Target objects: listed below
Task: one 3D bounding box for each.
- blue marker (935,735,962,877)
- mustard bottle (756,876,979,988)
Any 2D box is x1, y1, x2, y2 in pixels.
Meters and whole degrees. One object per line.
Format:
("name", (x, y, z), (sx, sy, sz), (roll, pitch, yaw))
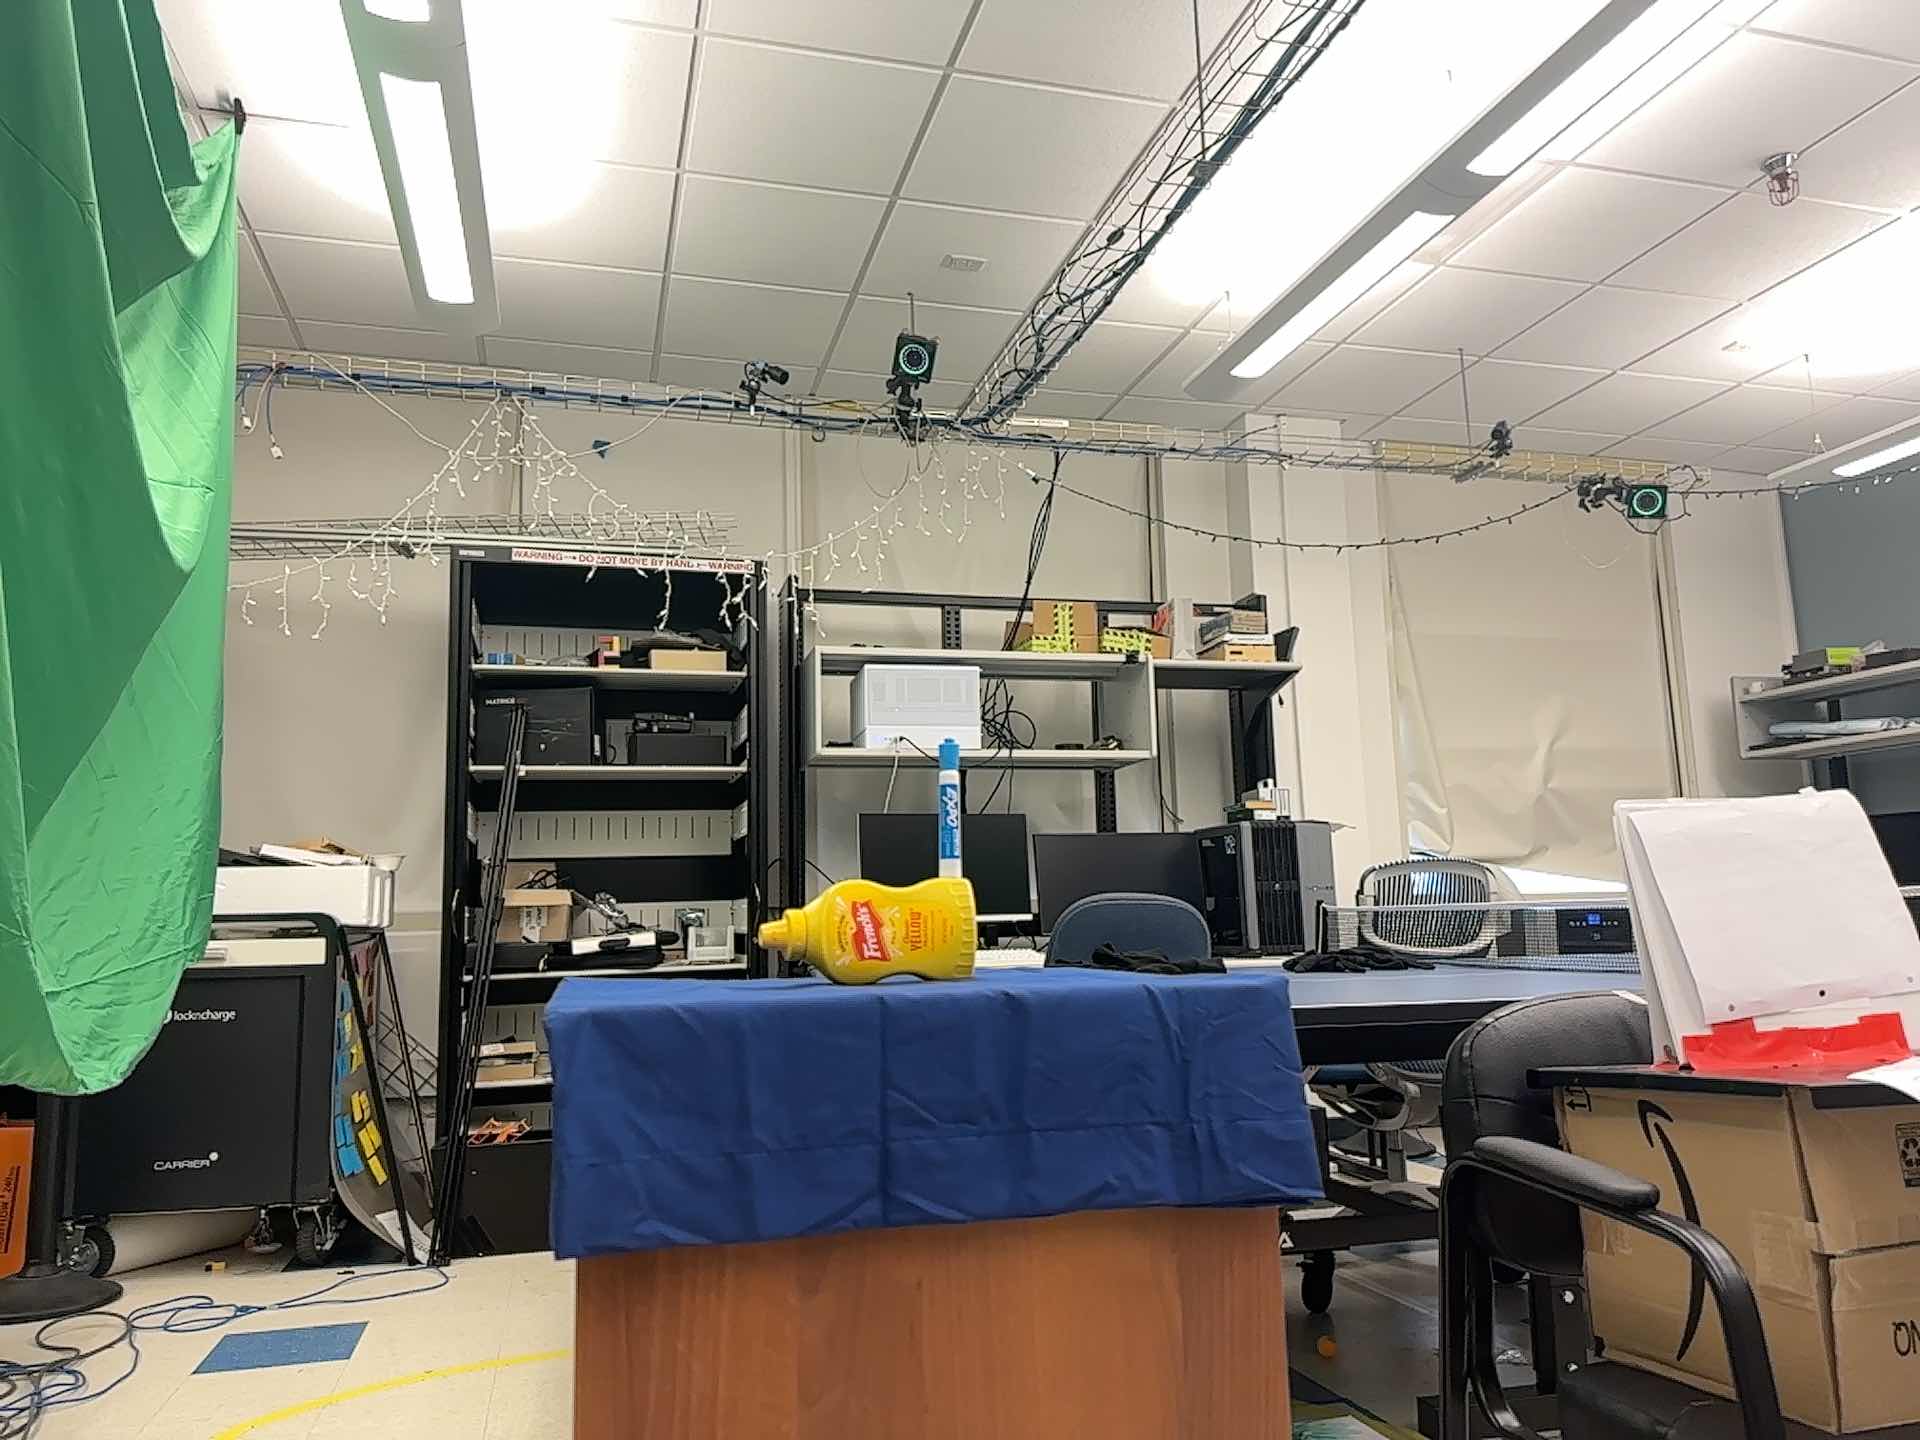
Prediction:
("blue marker", (-0.011, 0.073, 1.156), (0.020, 0.121, 0.020), (-2, -10, 0))
("mustard bottle", (-0.078, 0.176, 1.114), (0.184, 0.092, 0.054), (2, -2, -21))
